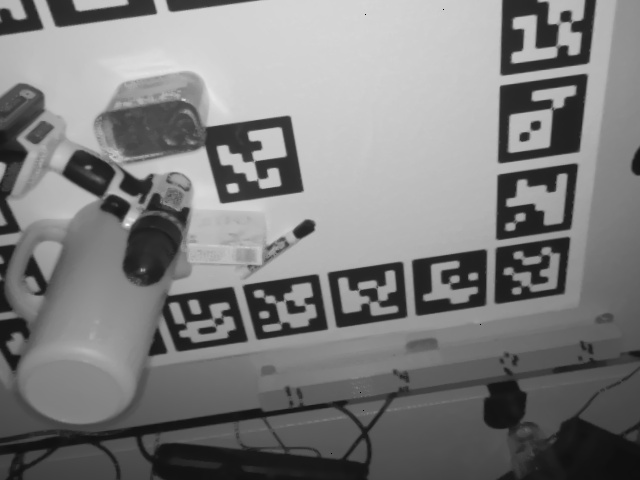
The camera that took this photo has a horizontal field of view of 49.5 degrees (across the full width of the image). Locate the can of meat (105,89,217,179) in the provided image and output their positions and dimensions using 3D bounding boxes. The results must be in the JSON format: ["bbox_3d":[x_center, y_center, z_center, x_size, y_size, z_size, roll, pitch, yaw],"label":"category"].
[{"bbox_3d":[-0.157,-0.110,0.708,0.102,0.084,0.057,-5,125,-1],"label":"can of meat"}]

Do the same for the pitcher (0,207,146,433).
[{"bbox_3d":[-0.259,0.076,0.736,0.190,0.243,0.131,21,116,-24],"label":"pitcher"}]

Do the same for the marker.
[{"bbox_3d":[-0.063,0.045,0.857,0.120,0.020,0.019,-28,120,11],"label":"marker"}]

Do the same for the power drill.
[{"bbox_3d":[-0.218,-0.026,0.701,0.188,0.186,0.056,28,115,-14],"label":"power drill"}]

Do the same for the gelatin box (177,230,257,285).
[{"bbox_3d":[-0.119,0.018,0.805,0.090,0.074,0.030,5,119,-6],"label":"gelatin box"}]
